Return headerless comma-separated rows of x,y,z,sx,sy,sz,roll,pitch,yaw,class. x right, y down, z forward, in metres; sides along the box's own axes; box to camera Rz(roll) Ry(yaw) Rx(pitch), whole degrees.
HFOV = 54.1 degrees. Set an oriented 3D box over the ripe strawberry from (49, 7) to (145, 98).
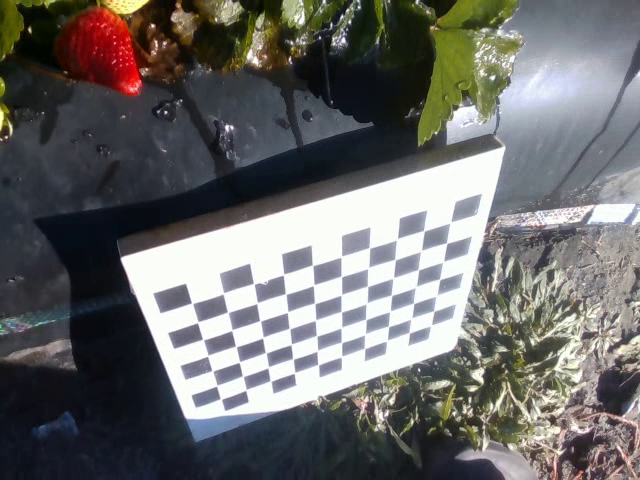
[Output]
-0.104,-0.087,0.302,0.040,0.053,0.042,-43,-15,12,ripe strawberry
